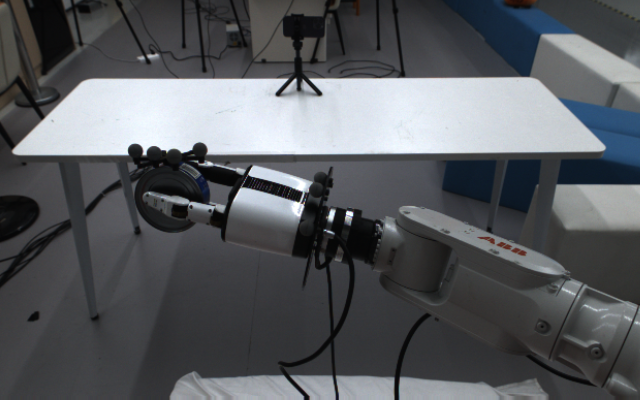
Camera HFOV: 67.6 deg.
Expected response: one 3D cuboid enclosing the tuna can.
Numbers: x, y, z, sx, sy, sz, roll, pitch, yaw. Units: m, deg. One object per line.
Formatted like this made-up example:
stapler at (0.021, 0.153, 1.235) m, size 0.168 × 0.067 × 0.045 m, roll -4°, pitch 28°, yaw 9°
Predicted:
tuna can at (-0.178, -0.003, 0.603) m, size 0.085 × 0.085 × 0.034 m, roll 4°, pitch 17°, yaw 2°
